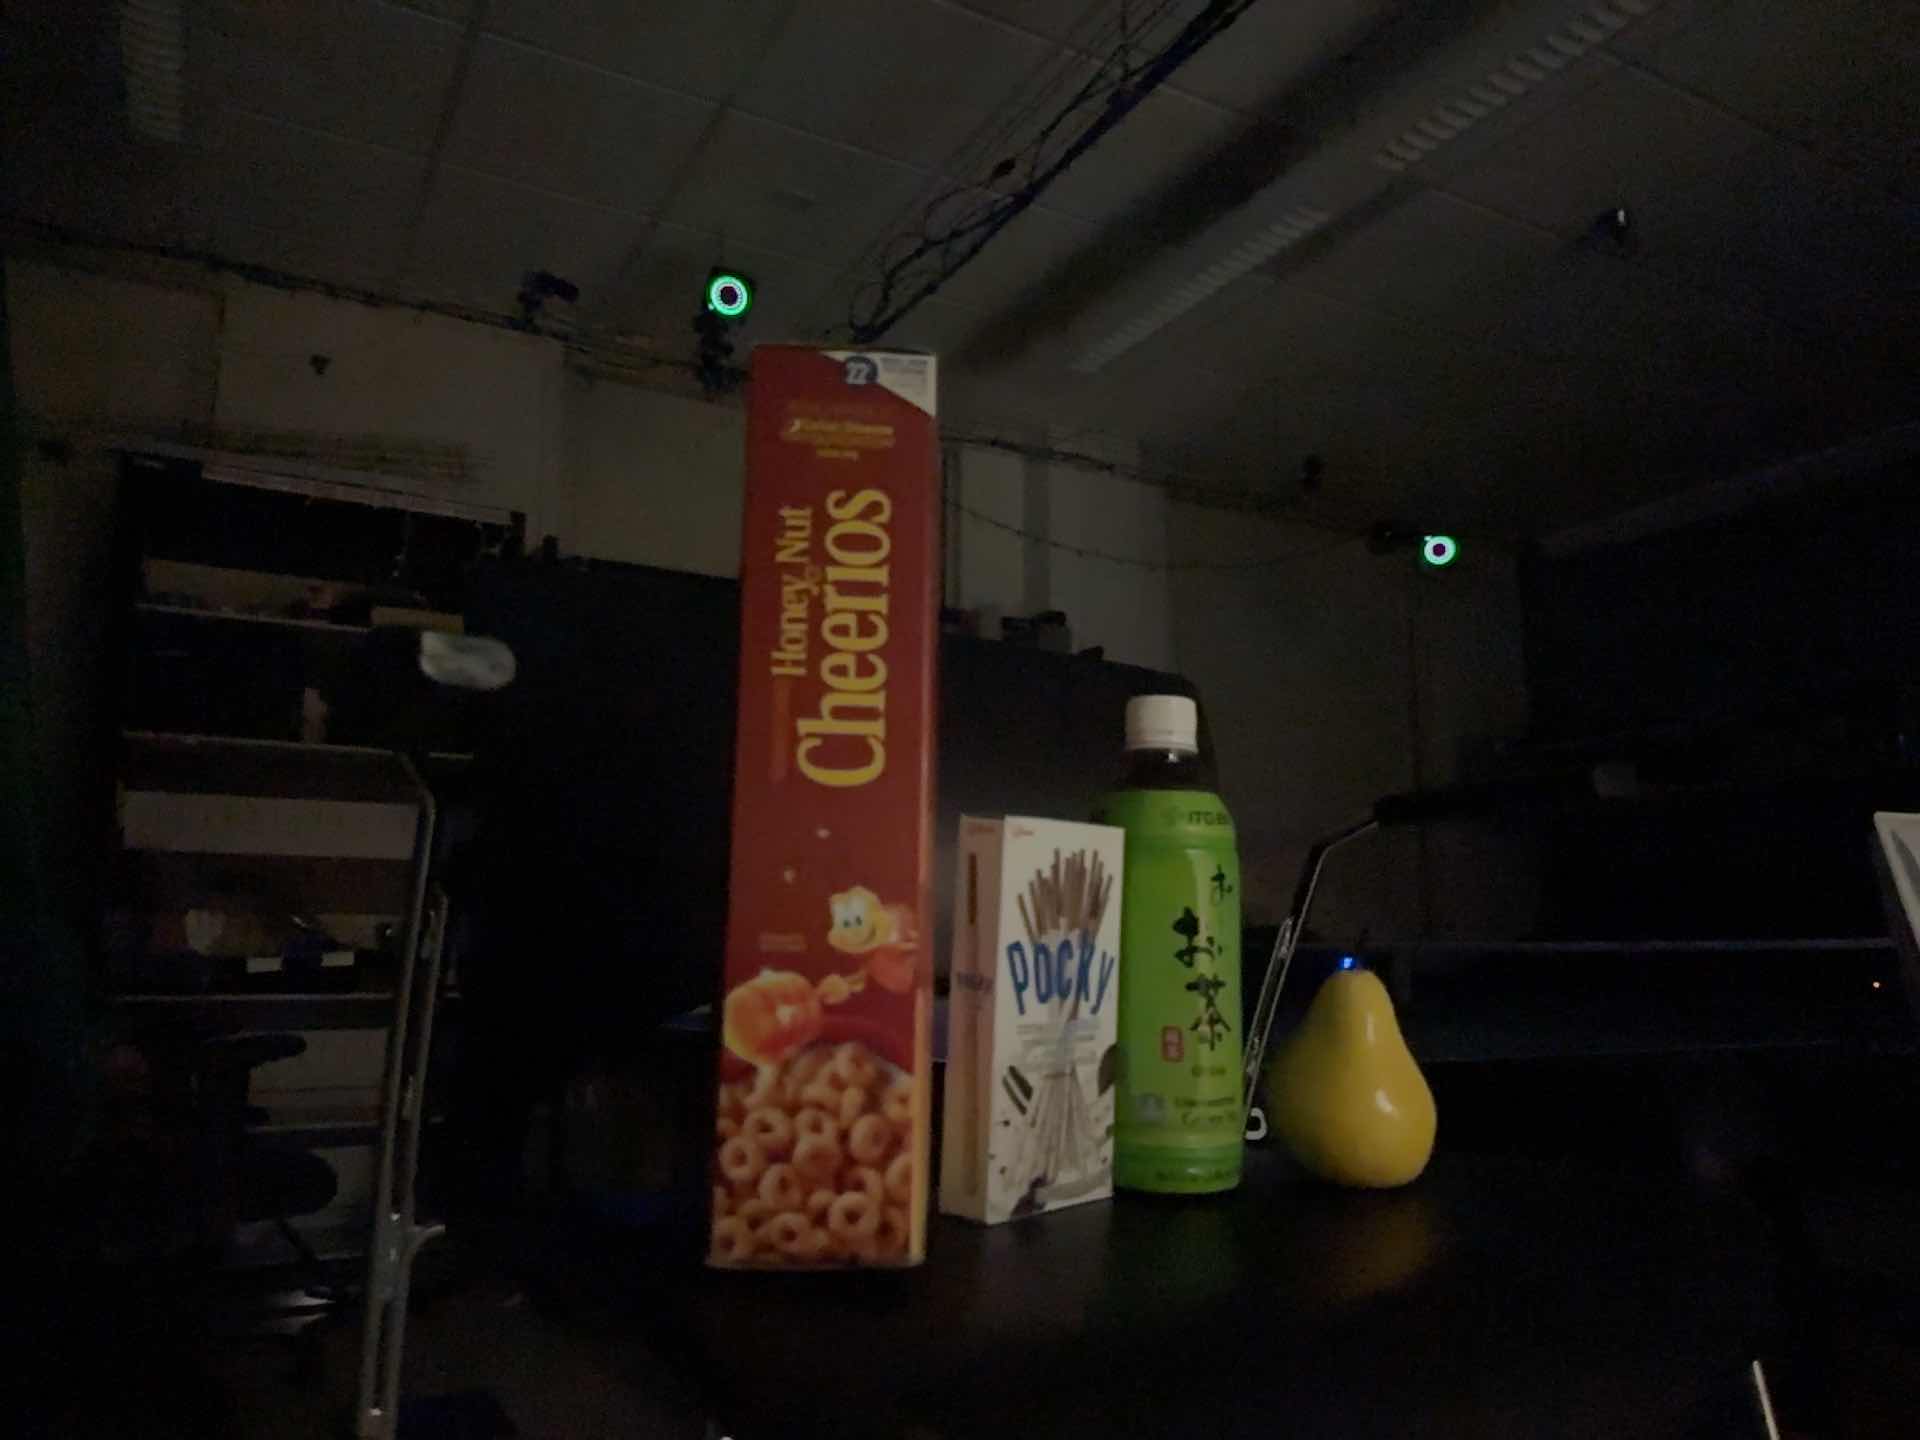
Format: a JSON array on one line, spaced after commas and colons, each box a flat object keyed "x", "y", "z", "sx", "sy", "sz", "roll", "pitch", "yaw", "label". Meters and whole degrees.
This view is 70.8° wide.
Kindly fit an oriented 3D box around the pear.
[{"x": 0.173, "y": 0.153, "z": 0.619, "sx": 0.080, "sy": 0.111, "sz": 0.080, "roll": -4, "pitch": -10, "yaw": -1, "label": "pear"}]

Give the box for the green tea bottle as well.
[{"x": 0.088, "y": 0.097, "z": 0.602, "sx": 0.073, "sy": 0.212, "sz": 0.073, "roll": -1, "pitch": -6, "yaw": 0, "label": "green tea bottle"}]

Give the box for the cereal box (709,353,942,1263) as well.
[{"x": -0.053, "y": 0.036, "z": 0.543, "sx": 0.065, "sy": 0.297, "sz": 0.195, "roll": 3, "pitch": -10, "yaw": -8, "label": "cereal box"}]

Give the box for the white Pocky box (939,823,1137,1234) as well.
[{"x": 0.032, "y": 0.120, "z": 0.545, "sx": 0.028, "sy": 0.154, "sz": 0.084, "roll": 1, "pitch": -5, "yaw": 43, "label": "white Pocky box"}]
